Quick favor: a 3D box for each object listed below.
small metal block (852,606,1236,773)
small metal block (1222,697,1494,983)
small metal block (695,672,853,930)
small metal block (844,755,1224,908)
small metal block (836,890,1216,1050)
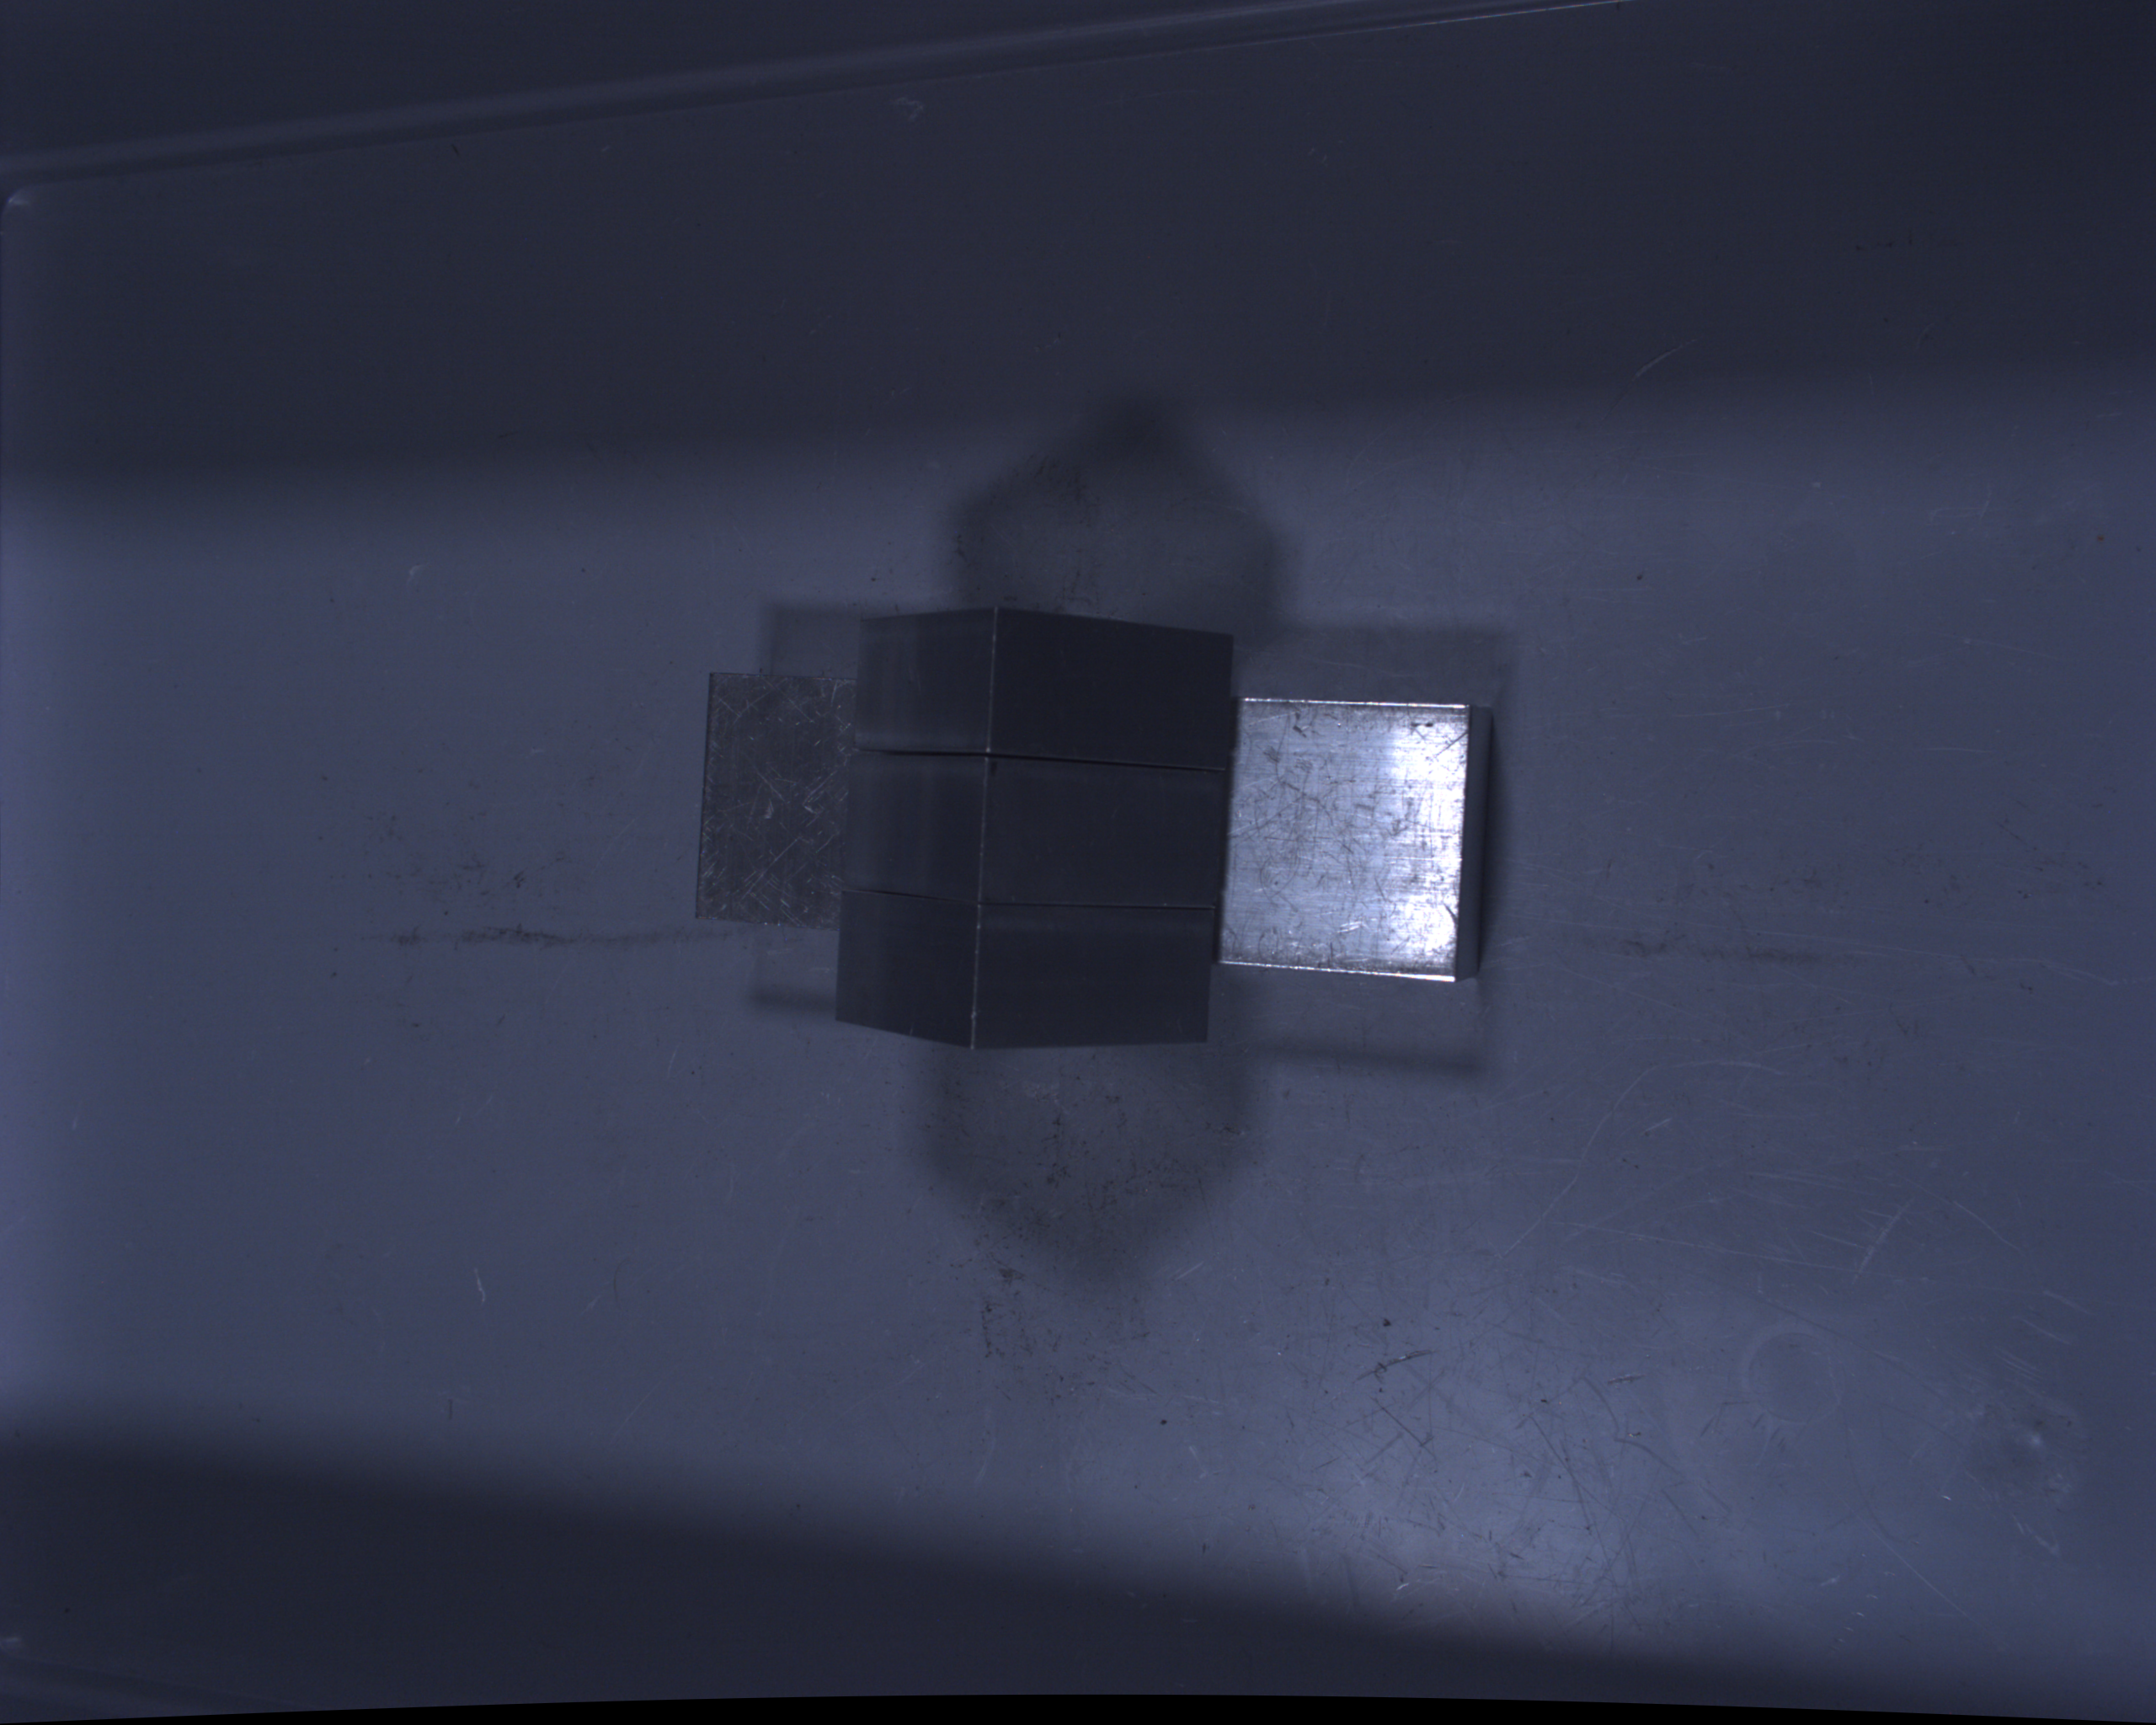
[{"bbox_3d":[-0.007,-0.031,0.386,0.050,0.050,0.025,5,92,56],"label":"small metal block"},{"bbox_3d":[0.050,-0.005,0.391,0.050,0.025,0.050,3,91,19],"label":"small metal block"},{"bbox_3d":[-0.048,-0.012,0.425,0.050,0.025,0.050,4,91,19],"label":"small metal block"},{"bbox_3d":[-0.009,-0.006,0.387,0.050,0.050,0.025,3,91,56],"label":"small metal block"},{"bbox_3d":[-0.010,0.019,0.388,0.050,0.050,0.025,3,91,56],"label":"small metal block"}]
